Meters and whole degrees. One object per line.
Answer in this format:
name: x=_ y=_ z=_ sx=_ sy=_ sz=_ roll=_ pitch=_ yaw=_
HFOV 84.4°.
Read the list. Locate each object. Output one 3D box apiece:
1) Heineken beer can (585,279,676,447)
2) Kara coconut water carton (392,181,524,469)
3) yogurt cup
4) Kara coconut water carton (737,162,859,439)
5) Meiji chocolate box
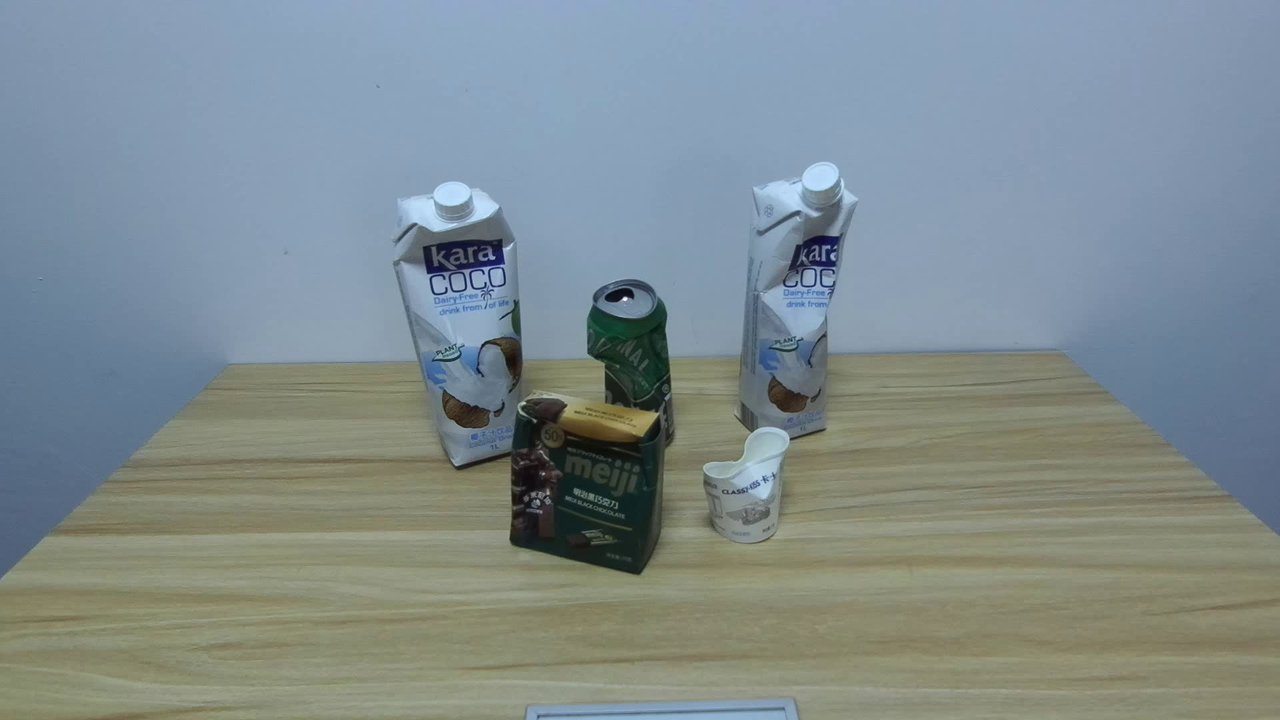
Heineken beer can: x=-0.006 y=0.008 z=0.631 sx=0.067 sy=0.159 sz=0.078 roll=-3 pitch=33 yaw=4
Kara coconut water carton: x=-0.149 y=-0.031 z=0.613 sx=0.100 sy=0.244 sz=0.071 roll=-16 pitch=28 yaw=-23
yogurt cup: x=0.081 y=0.097 z=0.545 sx=0.053 sy=0.071 sz=0.075 roll=8 pitch=29 yaw=20
Kara coconut water carton: x=0.133 y=-0.049 z=0.624 sx=0.083 sy=0.256 sz=0.078 roll=-6 pitch=30 yaw=-10
Meiji chocolate box: x=-0.042 y=0.090 z=0.533 sx=0.113 sy=0.110 sz=0.058 roll=8 pitch=19 yaw=14
